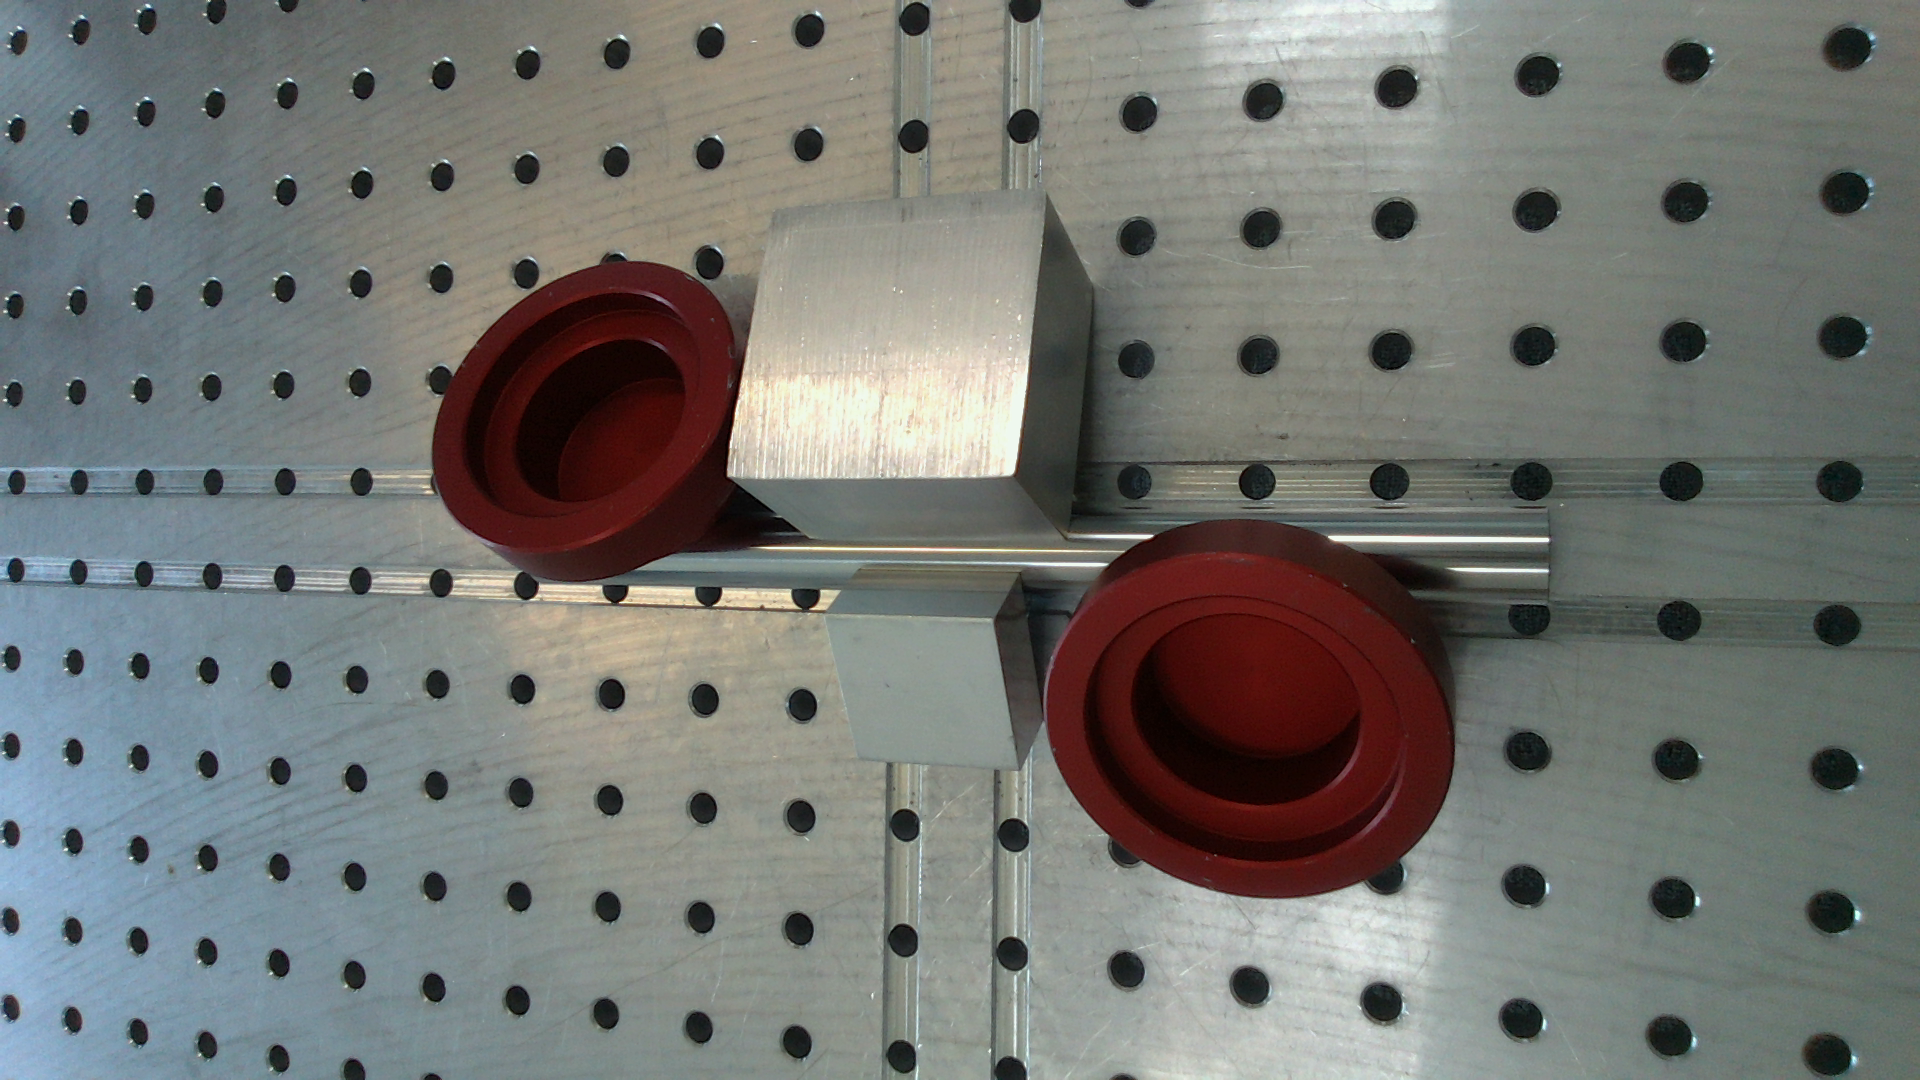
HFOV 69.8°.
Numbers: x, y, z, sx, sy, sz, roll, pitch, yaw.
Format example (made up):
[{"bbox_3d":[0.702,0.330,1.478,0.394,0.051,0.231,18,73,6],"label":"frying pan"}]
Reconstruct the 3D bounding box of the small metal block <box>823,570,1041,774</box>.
[{"bbox_3d":[-0.006,0.037,0.390,0.050,0.025,0.050,1,119,20],"label":"small metal block"}]

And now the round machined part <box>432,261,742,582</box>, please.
[{"bbox_3d":[-0.104,-0.031,0.413,0.098,0.042,0.098,-8,62,16],"label":"round machined part"}]

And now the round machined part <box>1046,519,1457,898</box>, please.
[{"bbox_3d":[0.074,0.039,0.349,0.098,0.042,0.098,8,118,16],"label":"round machined part"}]

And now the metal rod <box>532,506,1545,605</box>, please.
[{"bbox_3d":[0.006,0.003,0.397,0.299,0.025,0.025,0,90,20],"label":"metal rod"}]

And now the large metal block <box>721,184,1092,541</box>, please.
[{"bbox_3d":[-0.012,-0.046,0.377,0.080,0.050,0.080,1,72,20],"label":"large metal block"}]
